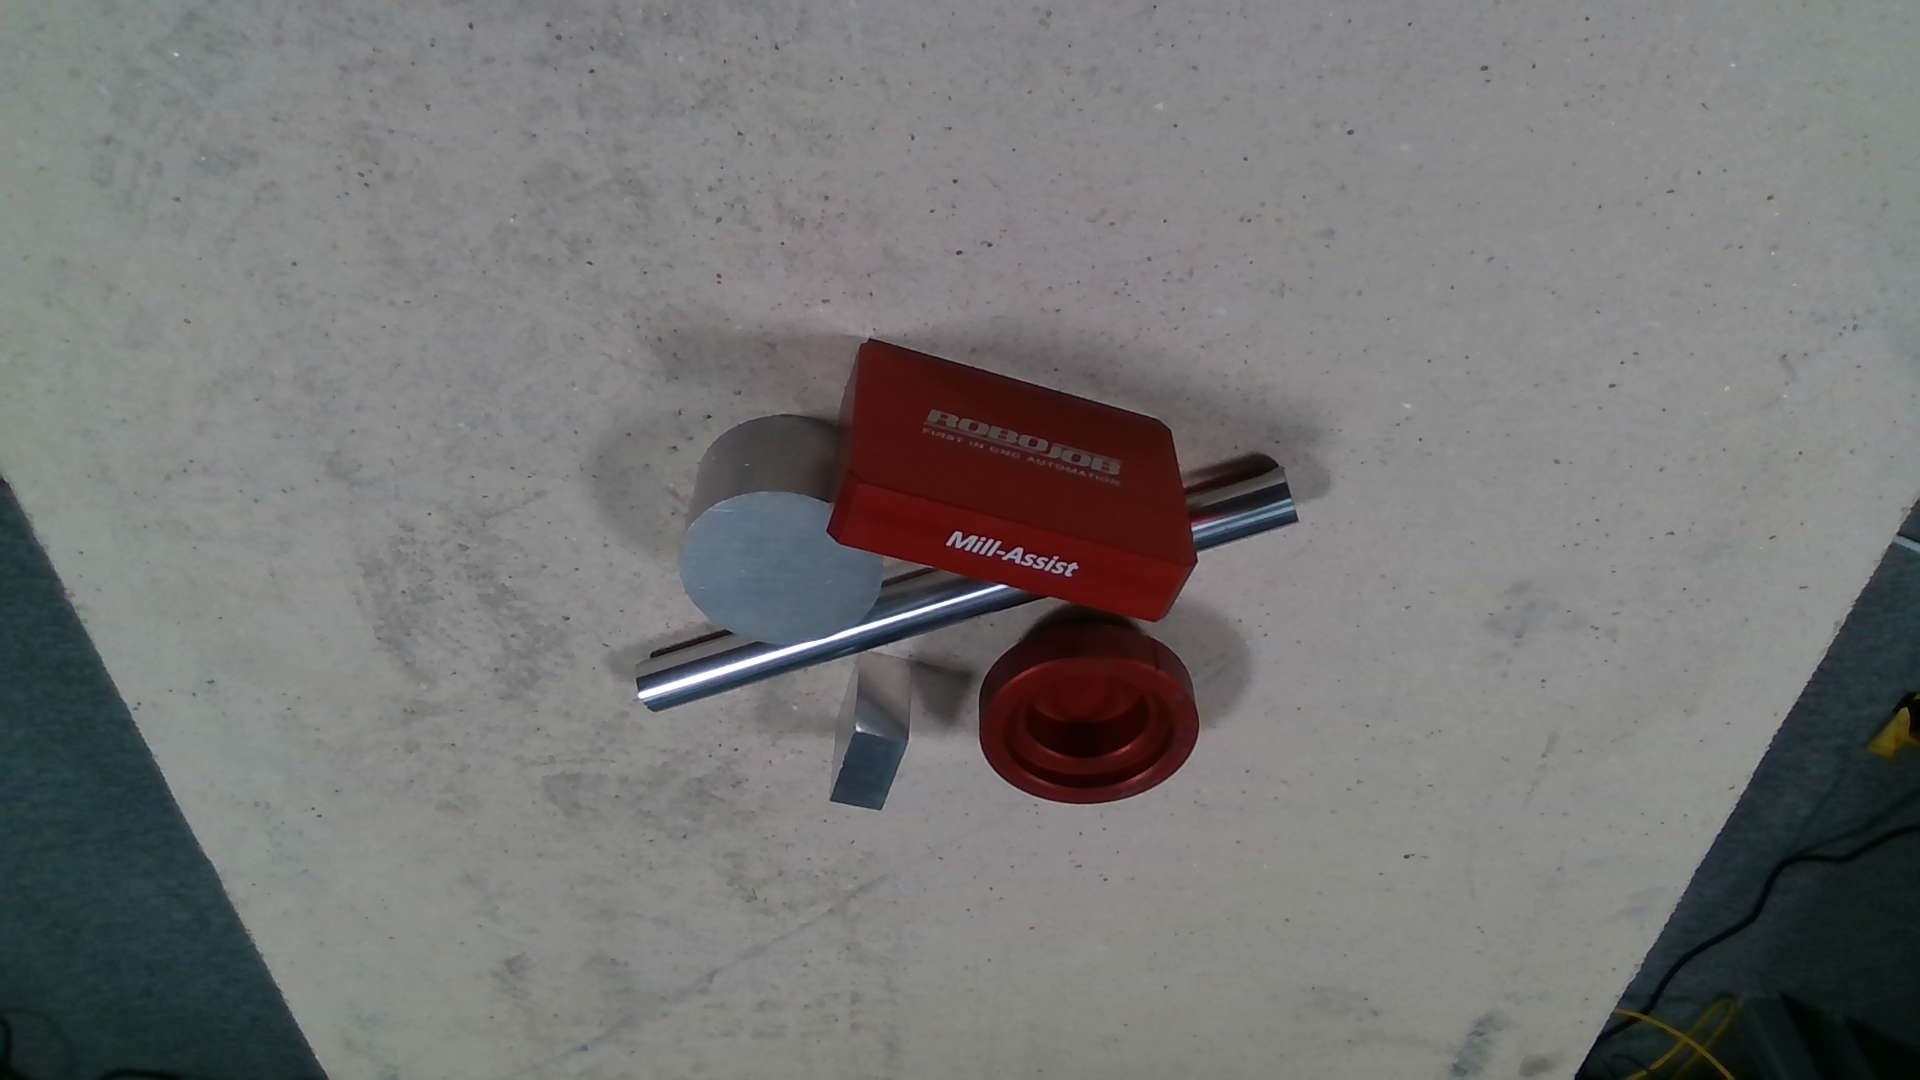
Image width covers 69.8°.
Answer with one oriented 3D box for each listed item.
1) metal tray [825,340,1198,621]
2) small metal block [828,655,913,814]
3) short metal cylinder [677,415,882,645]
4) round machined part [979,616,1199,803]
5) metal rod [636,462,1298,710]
[{"bbox_3d":[0.019,-0.024,0.517,0.130,0.090,0.030,14,129,-12],"label":"metal tray"},{"bbox_3d":[-0.041,0.089,0.634,0.025,0.050,0.050,13,129,-11],"label":"small metal block"},{"bbox_3d":[-0.071,-0.004,0.560,0.080,0.050,0.080,0,130,0],"label":"short metal cylinder"},{"bbox_3d":[0.058,0.073,0.630,0.098,0.042,0.098,0,130,0],"label":"round machined part"},{"bbox_3d":[-0.004,0.024,0.600,0.300,0.025,0.025,-17,128,14],"label":"metal rod"}]
